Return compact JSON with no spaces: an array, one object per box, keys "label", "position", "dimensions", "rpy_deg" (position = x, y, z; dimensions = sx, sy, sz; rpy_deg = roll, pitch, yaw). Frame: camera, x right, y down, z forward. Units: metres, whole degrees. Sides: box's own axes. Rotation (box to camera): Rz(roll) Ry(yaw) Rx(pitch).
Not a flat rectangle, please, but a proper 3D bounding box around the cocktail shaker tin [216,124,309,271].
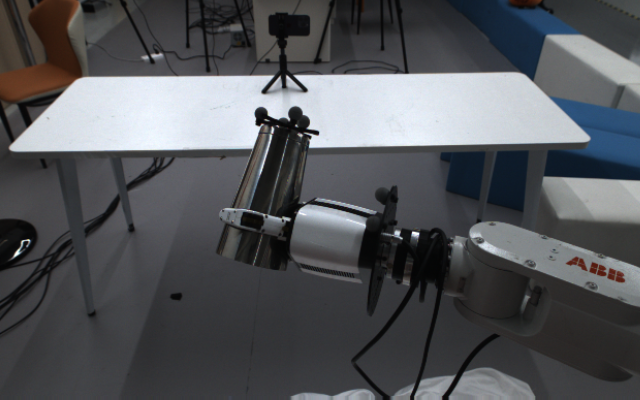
[{"label":"cocktail shaker tin","position":[-0.066,-0.004,0.618],"dimensions":[0.093,0.170,0.093],"rpy_deg":[15,-4,1]}]
